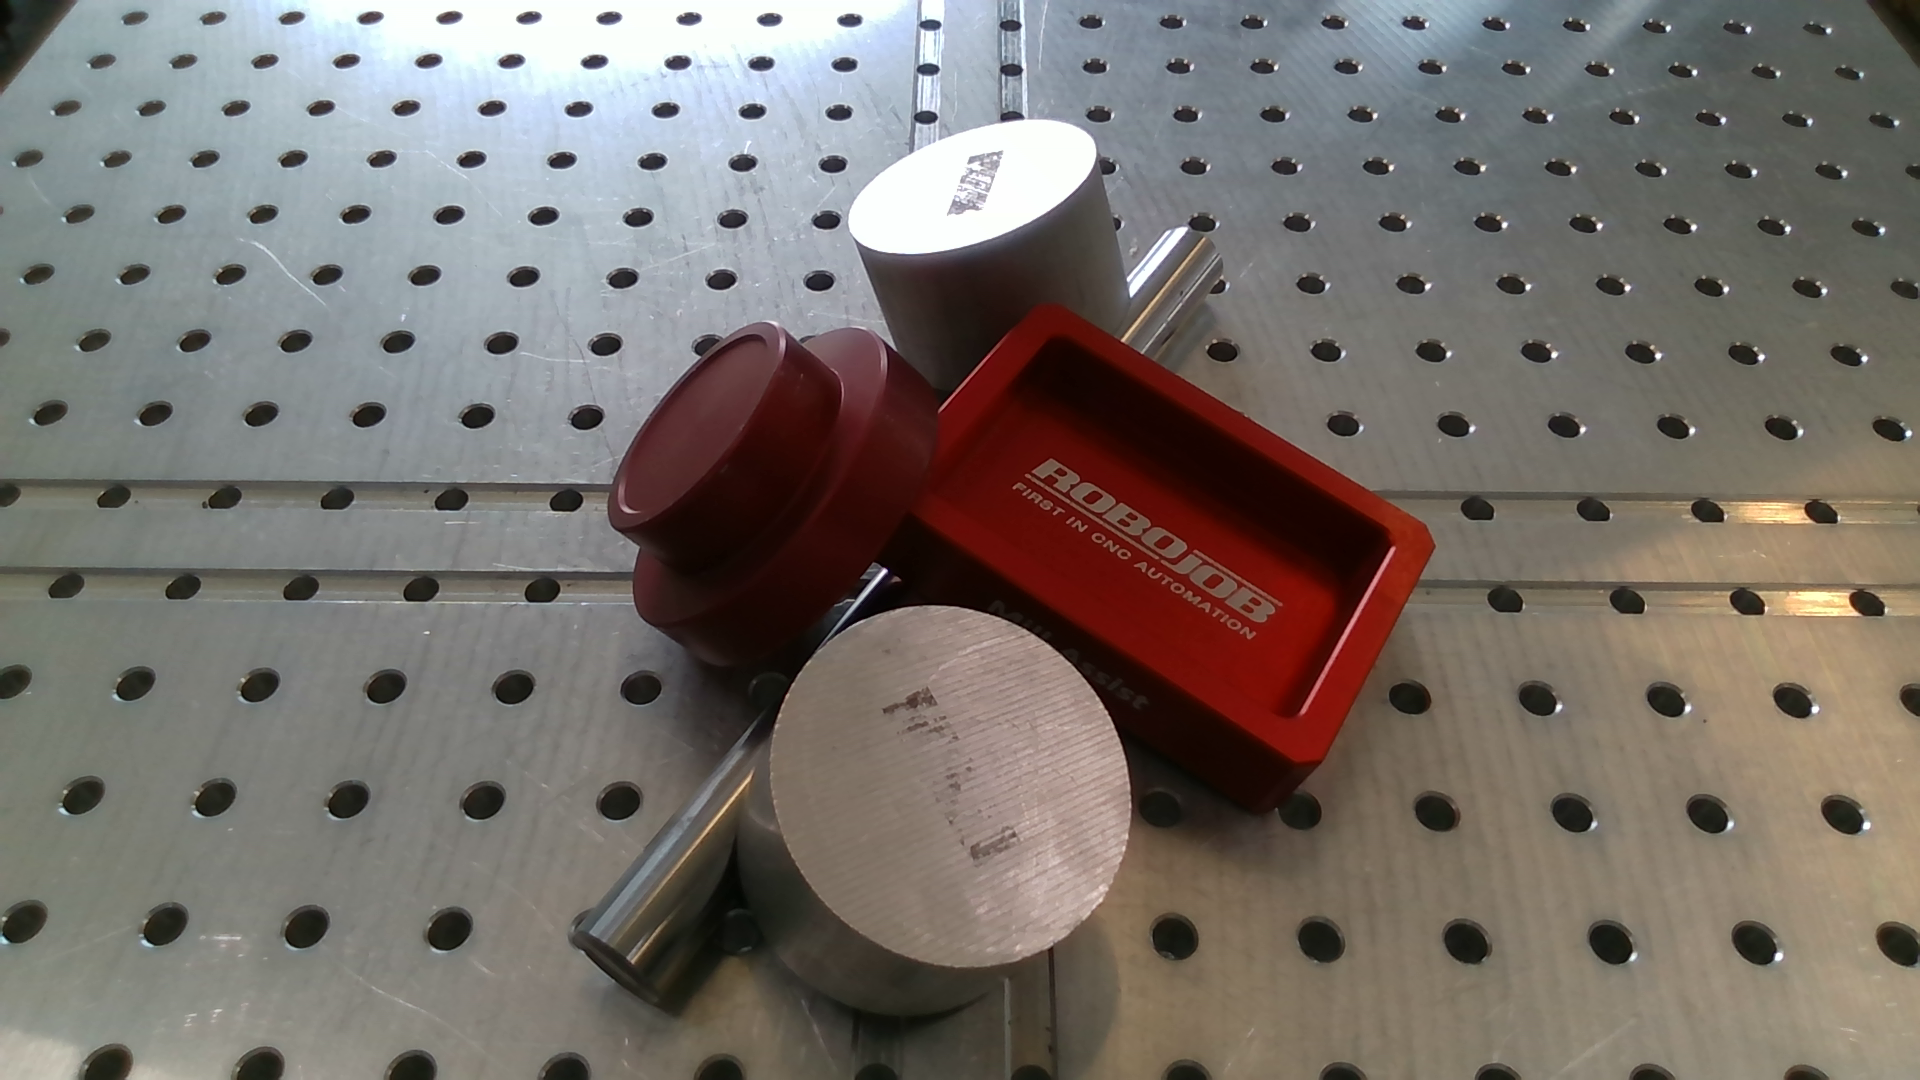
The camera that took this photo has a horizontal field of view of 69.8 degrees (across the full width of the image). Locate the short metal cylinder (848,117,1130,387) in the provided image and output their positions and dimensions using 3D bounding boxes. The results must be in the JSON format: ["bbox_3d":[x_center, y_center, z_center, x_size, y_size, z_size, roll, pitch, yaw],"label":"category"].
[{"bbox_3d":[0.010,-0.093,0.443,0.080,0.050,0.080,-13,39,10],"label":"short metal cylinder"}]

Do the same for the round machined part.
[{"bbox_3d":[-0.056,-0.020,0.367,0.098,0.042,0.098,-34,34,27],"label":"round machined part"}]

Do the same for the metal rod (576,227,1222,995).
[{"bbox_3d":[0.001,-0.001,0.398,0.025,0.025,0.299,25,54,20],"label":"metal rod"}]

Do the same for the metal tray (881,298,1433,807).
[{"bbox_3d":[0.052,-0.001,0.375,0.130,0.030,0.090,33,57,9],"label":"metal tray"}]

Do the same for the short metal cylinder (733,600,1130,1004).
[{"bbox_3d":[-0.008,0.061,0.315,0.080,0.050,0.080,8,60,-14],"label":"short metal cylinder"}]
